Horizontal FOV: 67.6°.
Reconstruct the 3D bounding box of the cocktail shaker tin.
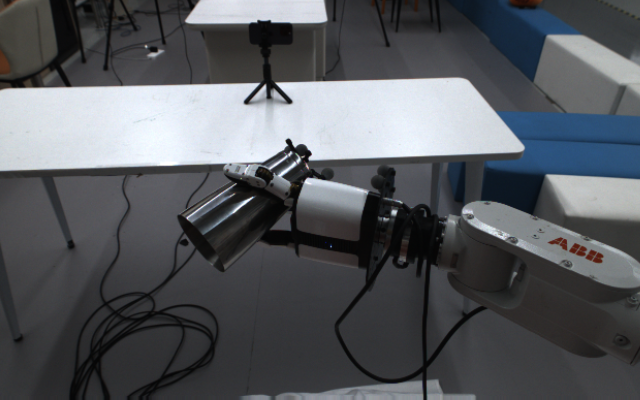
[{"bbox_3d":[-0.090,0.002,0.641,0.170,0.093,0.093,-38,49,-24],"label":"cocktail shaker tin"}]
